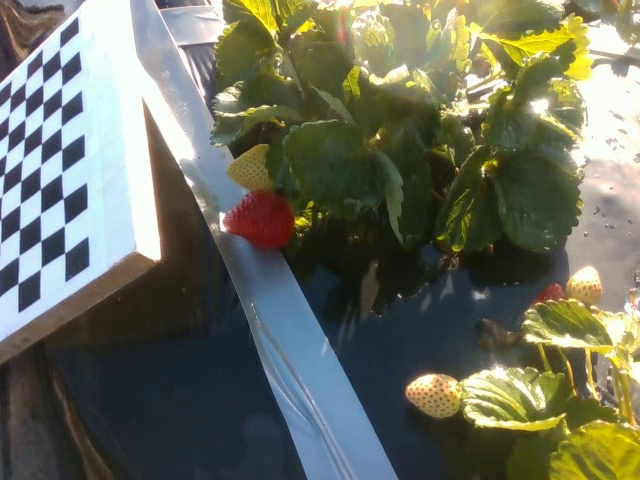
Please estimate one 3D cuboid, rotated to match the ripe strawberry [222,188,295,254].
[{"bbox_3d":[-0.043,-0.014,0.399,0.045,0.048,0.064,-9,2,36],"label":"ripe strawberry"}]
